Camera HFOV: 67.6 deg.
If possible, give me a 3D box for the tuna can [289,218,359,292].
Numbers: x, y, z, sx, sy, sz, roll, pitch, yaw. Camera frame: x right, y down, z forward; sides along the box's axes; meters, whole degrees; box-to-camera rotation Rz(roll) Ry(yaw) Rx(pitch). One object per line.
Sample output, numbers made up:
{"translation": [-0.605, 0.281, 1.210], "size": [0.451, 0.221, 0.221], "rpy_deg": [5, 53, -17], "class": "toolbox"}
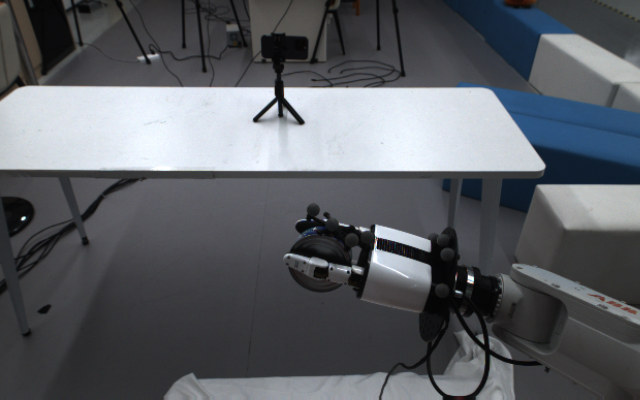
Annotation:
{"translation": [0.003, 0.078, 0.659], "size": [0.085, 0.085, 0.034], "rpy_deg": [7, 17, 7], "class": "tuna can"}
